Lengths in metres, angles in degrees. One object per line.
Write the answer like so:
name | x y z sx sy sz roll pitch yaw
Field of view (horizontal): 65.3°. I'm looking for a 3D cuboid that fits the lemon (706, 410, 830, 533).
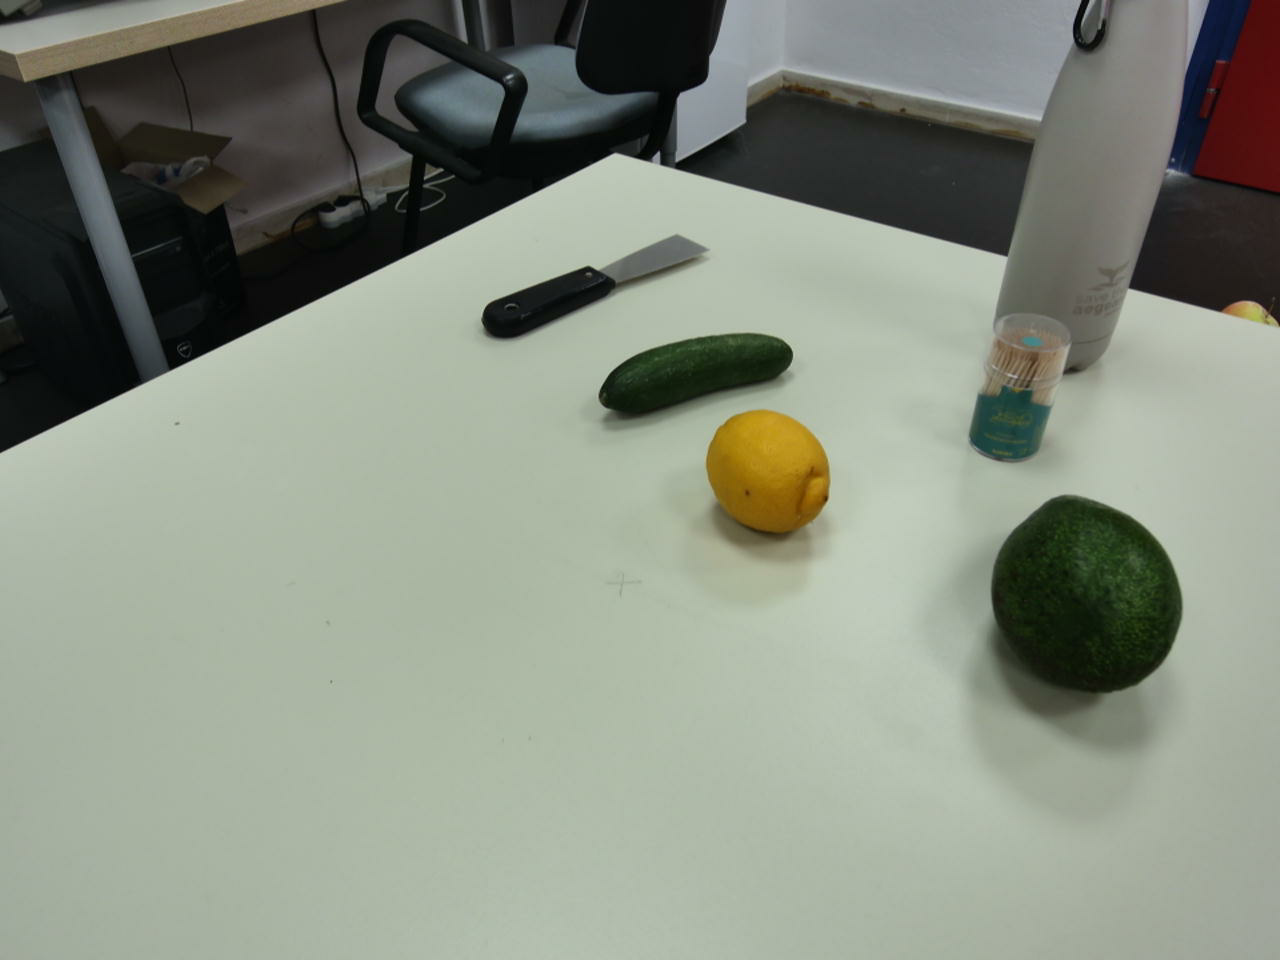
lemon | 0.066 -0.004 0.516 0.061 0.059 0.067 -6 37 -8
